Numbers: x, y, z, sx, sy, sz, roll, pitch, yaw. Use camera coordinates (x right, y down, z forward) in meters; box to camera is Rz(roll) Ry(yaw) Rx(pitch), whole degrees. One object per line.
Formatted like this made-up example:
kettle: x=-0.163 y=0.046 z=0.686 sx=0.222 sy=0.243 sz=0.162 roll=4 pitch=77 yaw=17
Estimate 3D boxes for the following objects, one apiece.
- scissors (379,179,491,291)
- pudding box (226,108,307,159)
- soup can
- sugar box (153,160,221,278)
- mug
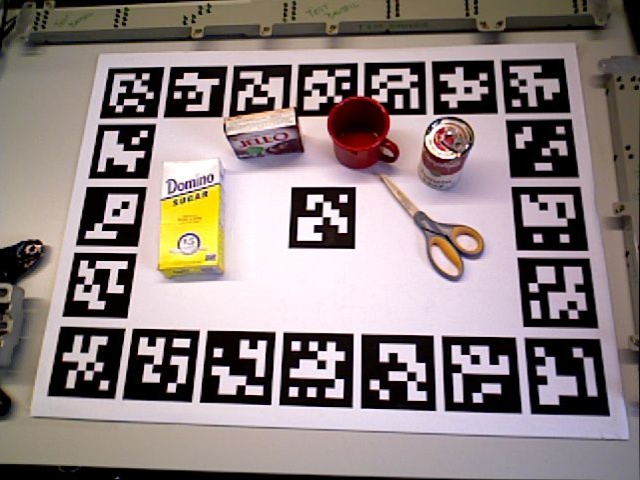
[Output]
scissors: x=0.160 y=-0.021 z=0.800 sx=0.088 sy=0.016 sz=0.202 roll=-43 pitch=76 yaw=3
pudding box: x=-0.079 y=-0.163 z=0.820 sx=0.113 sy=0.090 sz=0.038 roll=-9 pitch=79 yaw=2
soup can: x=0.183 y=-0.123 z=0.791 sx=0.068 sy=0.103 sz=0.067 roll=-2 pitch=72 yaw=4
sugar box: x=-0.201 y=-0.033 z=0.826 sx=0.093 sy=0.045 sz=0.175 roll=-3 pitch=76 yaw=6
mug: x=0.069 y=-0.161 z=0.814 sx=0.093 sy=0.082 sz=0.117 roll=-35 pitch=73 yaw=-4
